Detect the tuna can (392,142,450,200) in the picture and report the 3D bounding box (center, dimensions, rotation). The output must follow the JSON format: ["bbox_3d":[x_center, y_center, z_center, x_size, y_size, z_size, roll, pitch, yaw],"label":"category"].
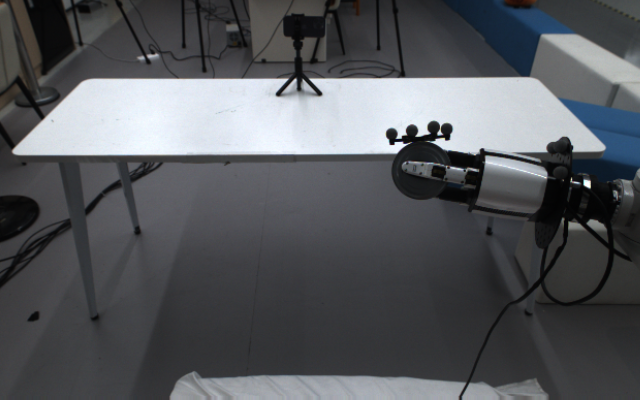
[{"bbox_3d":[0.151,-0.044,0.718,0.085,0.085,0.034,10,3,11],"label":"tuna can"}]
